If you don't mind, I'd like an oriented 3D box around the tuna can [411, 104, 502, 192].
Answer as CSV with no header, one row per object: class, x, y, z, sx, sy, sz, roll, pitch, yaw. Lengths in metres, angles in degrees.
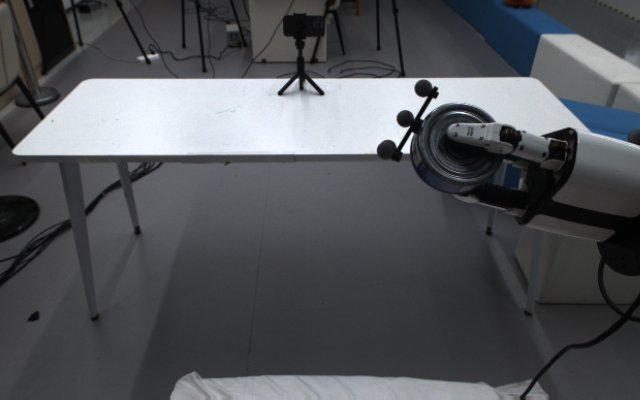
tuna can,0.138,-0.053,0.478,0.085,0.034,0.085,1,75,-5
